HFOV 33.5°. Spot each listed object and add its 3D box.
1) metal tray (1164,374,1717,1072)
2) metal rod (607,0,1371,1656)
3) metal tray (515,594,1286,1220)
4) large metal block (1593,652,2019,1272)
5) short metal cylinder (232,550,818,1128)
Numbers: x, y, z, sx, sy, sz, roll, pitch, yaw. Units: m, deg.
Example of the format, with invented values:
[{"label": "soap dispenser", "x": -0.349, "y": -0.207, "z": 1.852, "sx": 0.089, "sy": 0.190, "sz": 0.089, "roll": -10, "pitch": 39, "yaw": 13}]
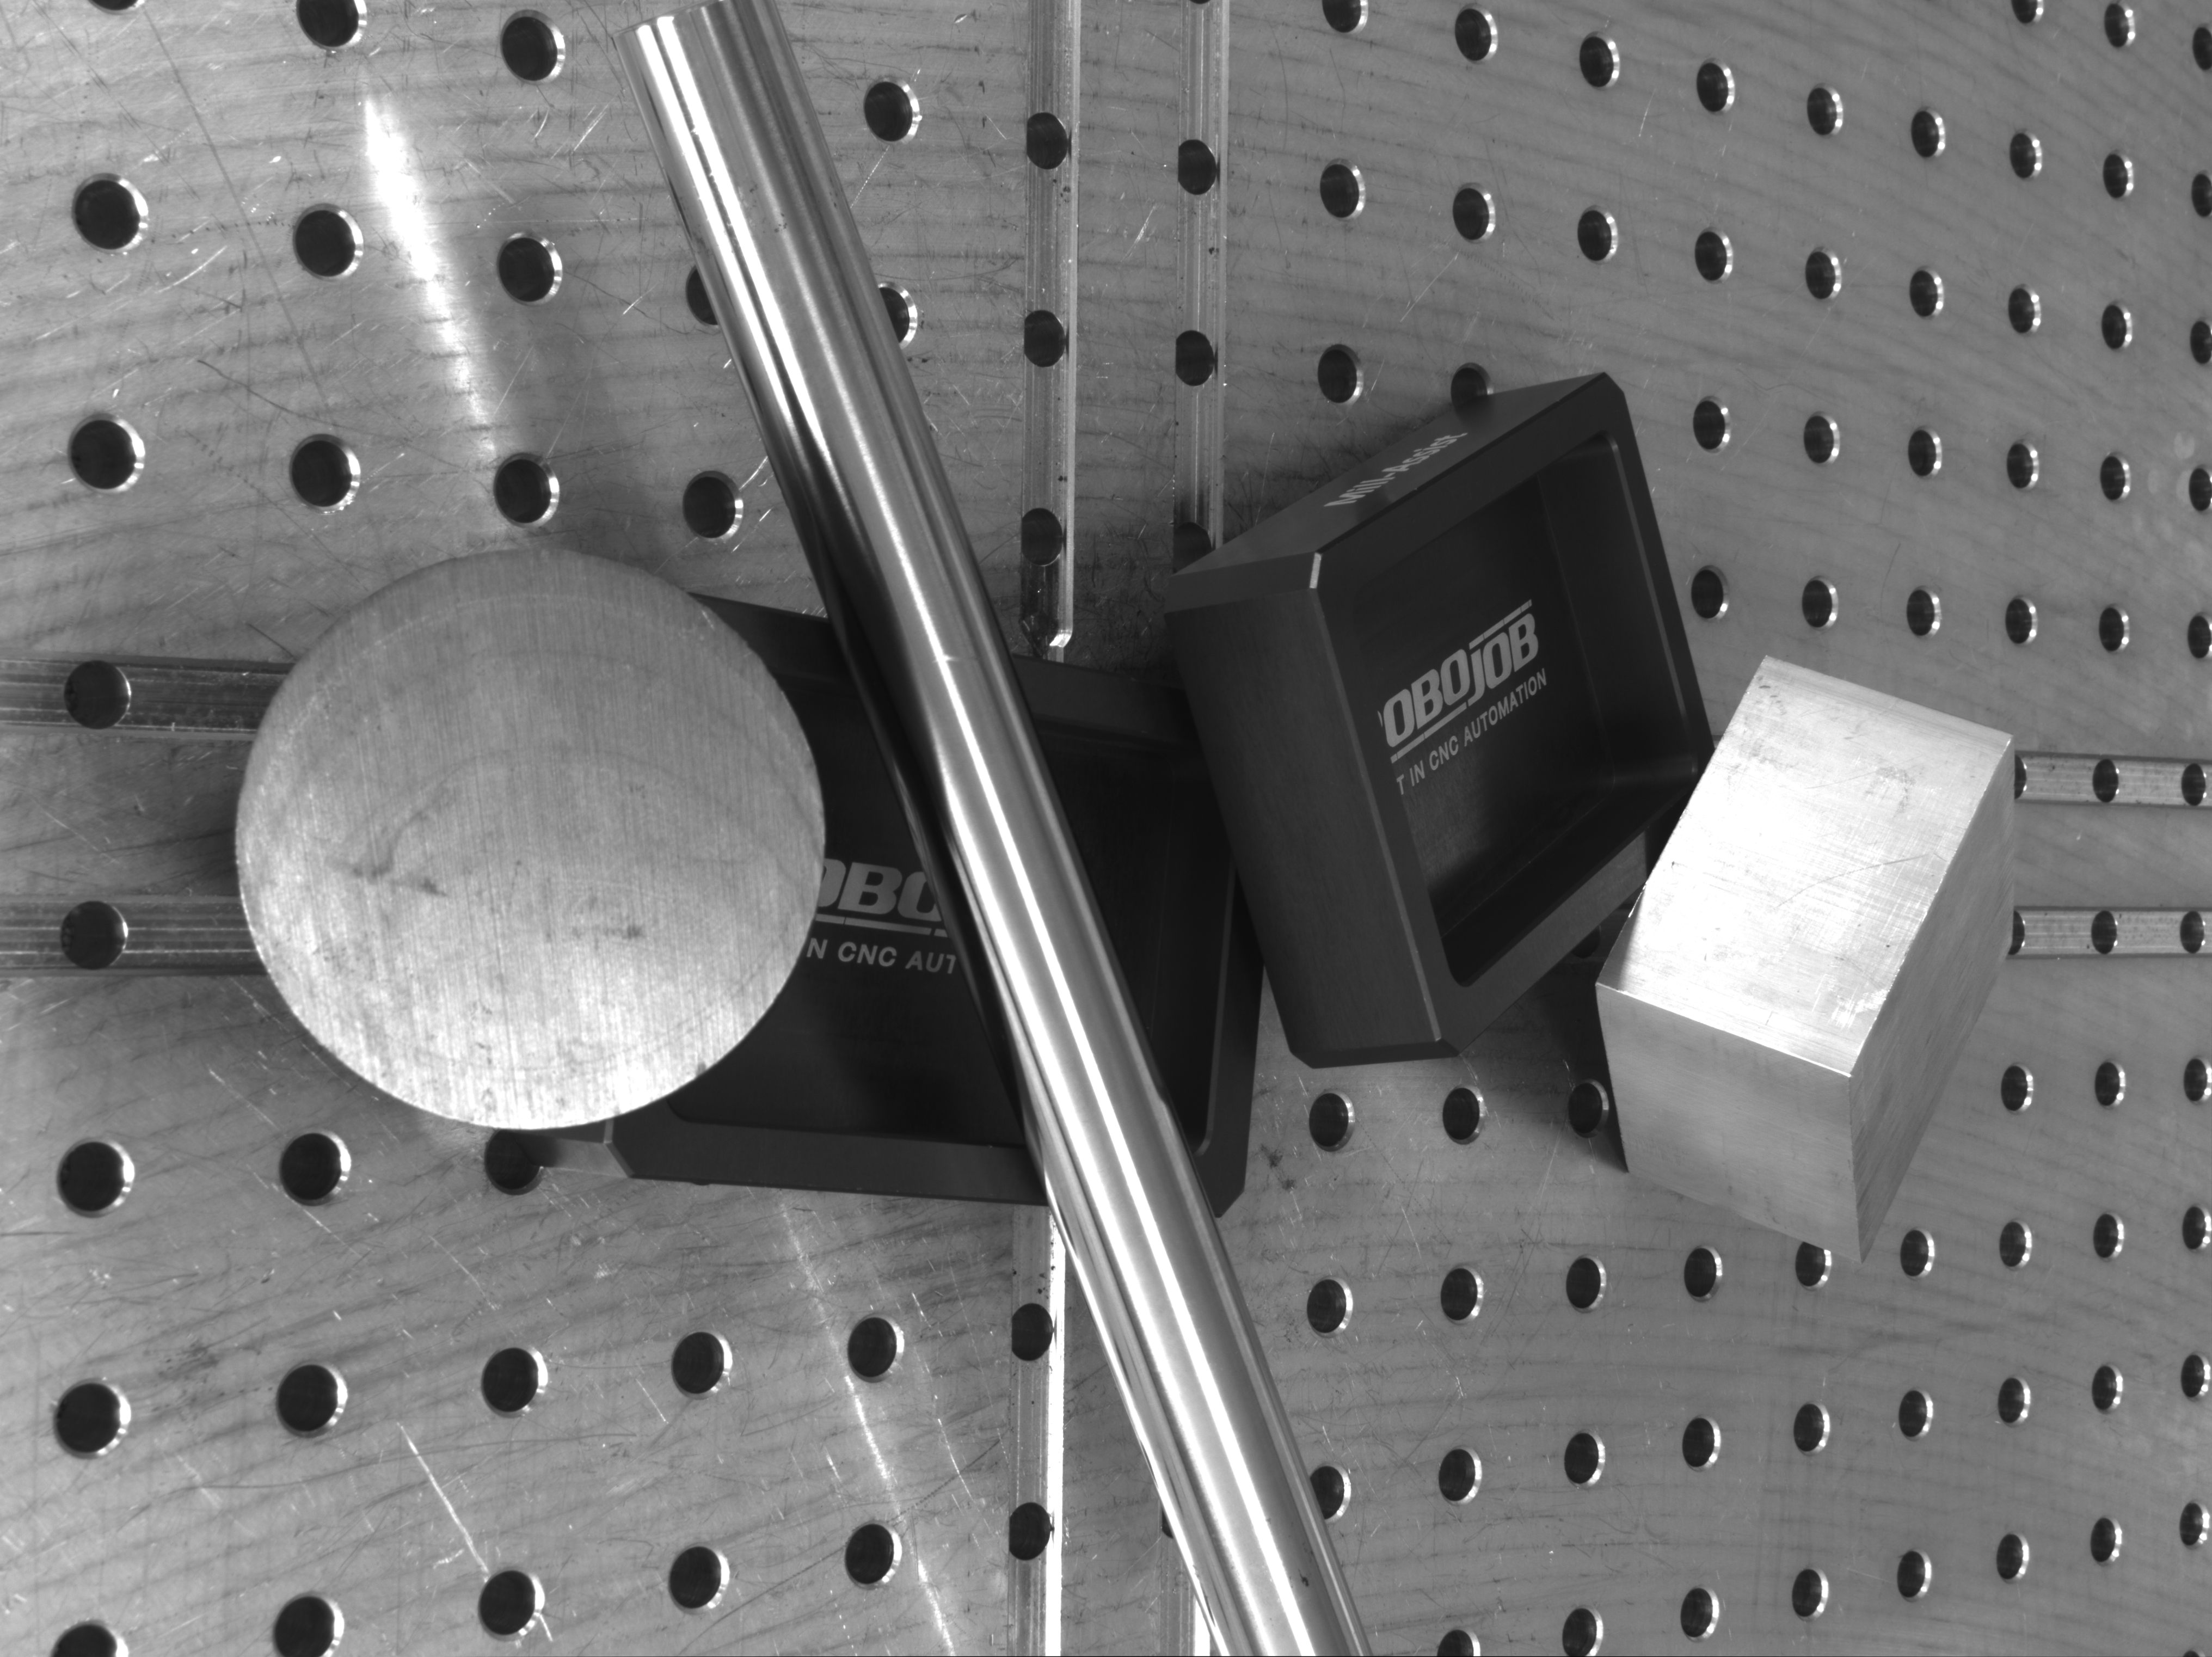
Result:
[{"label": "metal tray", "x": 0.066, "y": -0.022, "z": 0.666, "sx": 0.130, "sy": 0.030, "sz": 0.090, "roll": -34, "pitch": 112, "yaw": -52}, {"label": "metal rod", "x": -0.014, "y": 0.014, "z": 0.589, "sx": 0.025, "sy": 0.025, "sz": 0.300, "roll": -31, "pitch": 109, "yaw": -35}, {"label": "metal tray", "x": -0.031, "y": 0.016, "z": 0.610, "sx": 0.130, "sy": 0.030, "sz": 0.090, "roll": 9, "pitch": 84, "yaw": -39}, {"label": "large metal block", "x": 0.138, "y": 0.027, "z": 0.715, "sx": 0.080, "sy": 0.050, "sz": 0.080, "roll": -59, "pitch": 154, "yaw": -23}, {"label": "short metal cylinder", "x": -0.082, "y": 0.003, "z": 0.532, "sx": 0.080, "sy": 0.050, "sz": 0.080, "roll": 0, "pitch": 86, "yaw": -5}]
